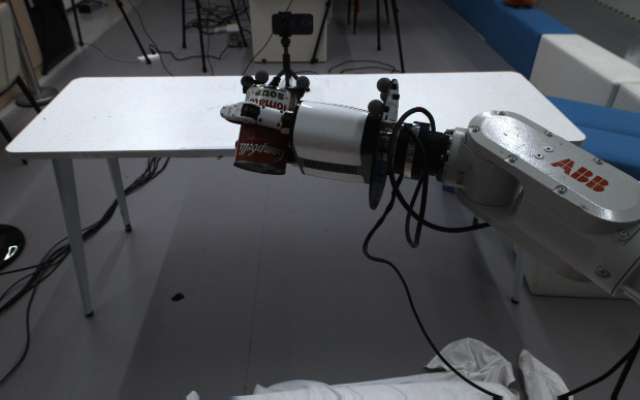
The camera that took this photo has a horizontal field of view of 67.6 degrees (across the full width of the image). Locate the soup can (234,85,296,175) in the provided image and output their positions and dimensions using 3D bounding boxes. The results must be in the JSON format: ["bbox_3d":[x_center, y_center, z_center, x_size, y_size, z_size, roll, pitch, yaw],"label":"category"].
[{"bbox_3d":[-0.069,-0.088,0.622,0.067,0.101,0.067,9,-6,1],"label":"soup can"}]
